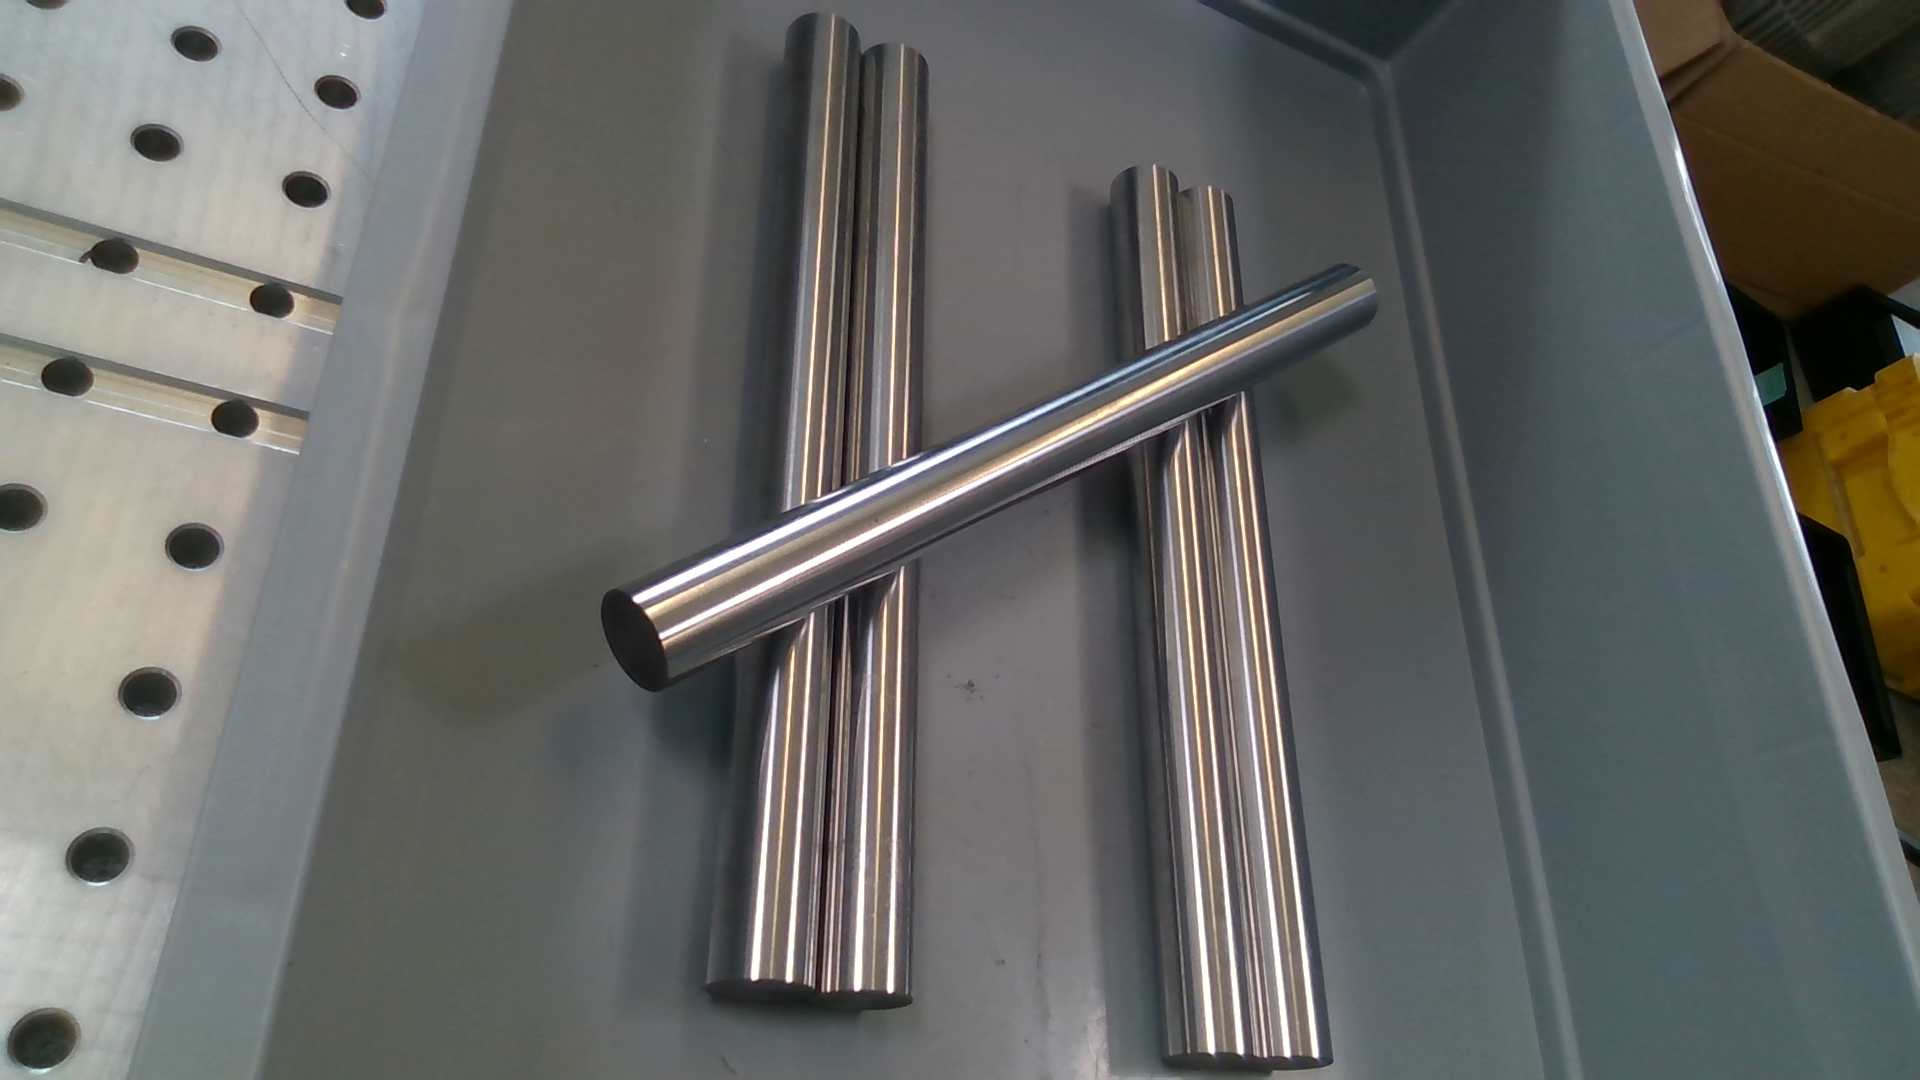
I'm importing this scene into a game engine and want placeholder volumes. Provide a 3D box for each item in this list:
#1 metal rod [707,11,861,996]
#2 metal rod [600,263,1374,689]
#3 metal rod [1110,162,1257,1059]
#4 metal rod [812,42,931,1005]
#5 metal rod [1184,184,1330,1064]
[{"bbox_3d":[-0.045,-0.031,0.381,0.025,0.025,0.299,14,59,-25],"label":"metal rod"},{"bbox_3d":[0.032,-0.032,0.397,0.300,0.025,0.025,-27,81,-38],"label":"metal rod"},{"bbox_3d":[0.066,0.003,0.430,0.025,0.025,0.299,15,59,-25],"label":"metal rod"},{"bbox_3d":[-0.022,-0.025,0.391,0.025,0.025,0.299,14,59,-25],"label":"metal rod"},{"bbox_3d":[0.088,0.008,0.441,0.025,0.025,0.299,15,59,-25],"label":"metal rod"}]
